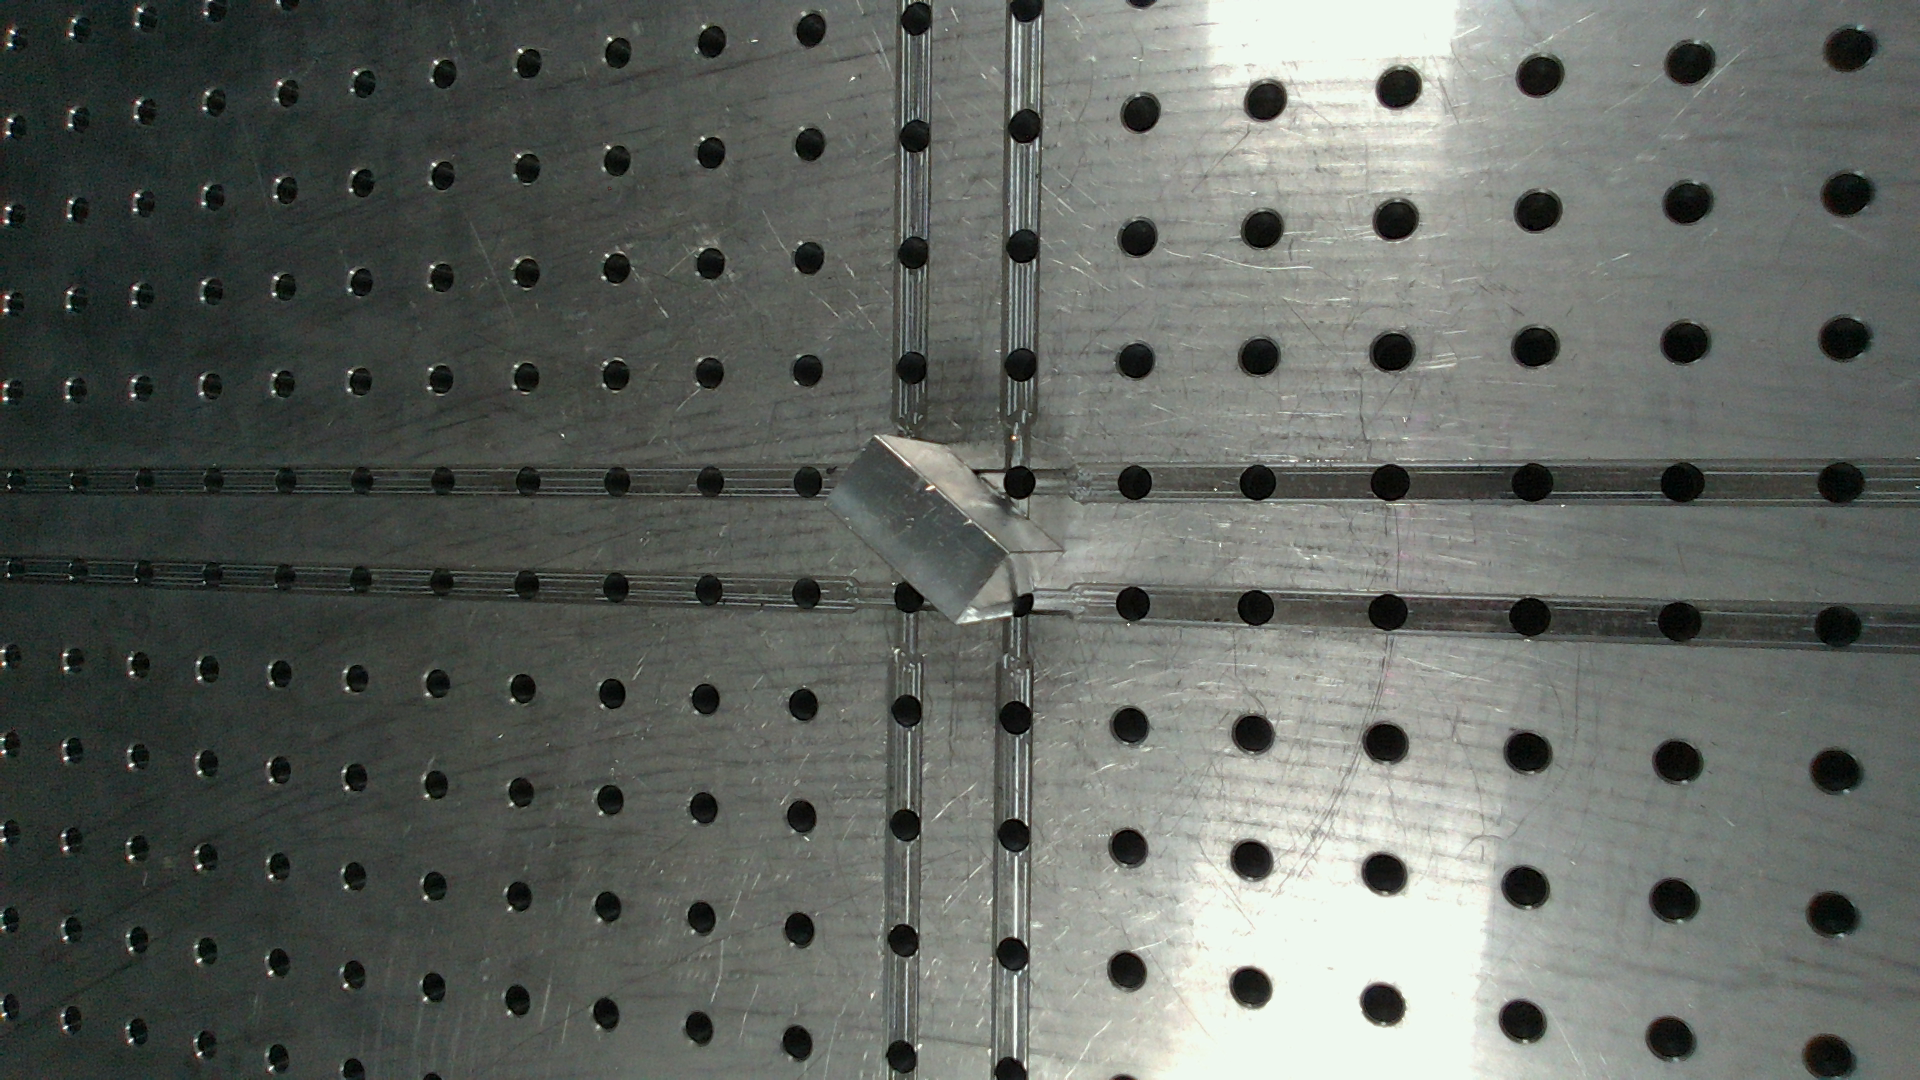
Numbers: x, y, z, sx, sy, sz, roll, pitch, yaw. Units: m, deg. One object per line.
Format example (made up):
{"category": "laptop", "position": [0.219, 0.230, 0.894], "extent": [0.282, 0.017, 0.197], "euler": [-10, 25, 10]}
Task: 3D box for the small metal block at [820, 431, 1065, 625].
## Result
{"category": "small metal block", "position": [-0.004, -0.003, 0.386], "extent": [0.050, 0.050, 0.025], "euler": [42, 103, 15]}
